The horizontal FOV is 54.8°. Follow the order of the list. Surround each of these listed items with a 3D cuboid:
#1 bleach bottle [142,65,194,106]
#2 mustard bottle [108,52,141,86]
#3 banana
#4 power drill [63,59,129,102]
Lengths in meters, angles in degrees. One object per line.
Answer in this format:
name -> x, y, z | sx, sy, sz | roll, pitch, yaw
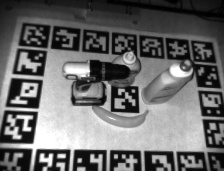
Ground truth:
bleach bottle -> 0.175, 0.001, 0.684 | 0.103, 0.250, 0.067 | -4, 72, -10
mustard bottle -> 0.046, -0.055, 0.704 | 0.096, 0.191, 0.058 | 4, 69, -8
banana -> 0.037, 0.105, 0.724 | 0.198, 0.039, 0.074 | 6, 73, -6
power drill -> -0.054, -0.012, 0.651 | 0.185, 0.187, 0.057 | 1, 63, -11
